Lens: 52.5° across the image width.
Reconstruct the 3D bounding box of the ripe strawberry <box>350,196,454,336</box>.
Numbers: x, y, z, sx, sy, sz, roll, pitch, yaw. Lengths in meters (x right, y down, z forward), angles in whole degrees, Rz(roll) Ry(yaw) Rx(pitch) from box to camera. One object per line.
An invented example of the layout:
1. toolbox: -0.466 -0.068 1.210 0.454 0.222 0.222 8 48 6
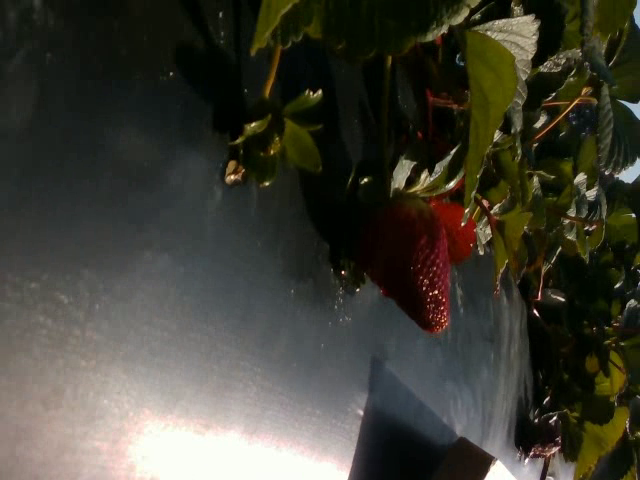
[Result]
1. ripe strawberry: 0.032 0.011 0.217 0.040 0.056 0.040 -22 -4 -39
